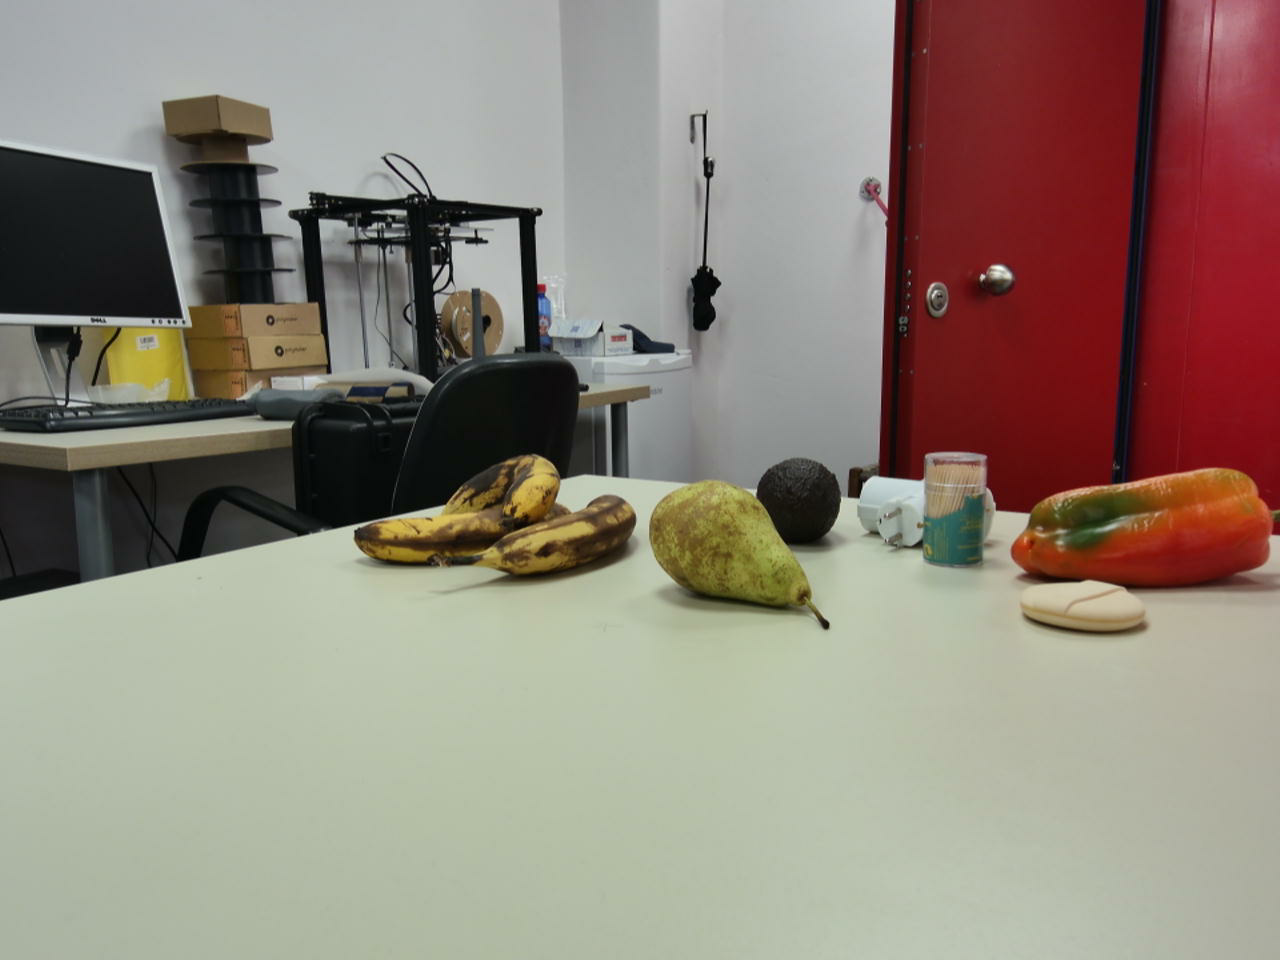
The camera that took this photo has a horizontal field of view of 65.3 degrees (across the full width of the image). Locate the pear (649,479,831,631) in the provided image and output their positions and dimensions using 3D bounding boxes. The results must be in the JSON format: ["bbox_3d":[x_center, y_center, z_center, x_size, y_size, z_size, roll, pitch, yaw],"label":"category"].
[{"bbox_3d":[0.064,0.039,0.612,0.128,0.075,0.071,4,8,26],"label":"pear"}]
